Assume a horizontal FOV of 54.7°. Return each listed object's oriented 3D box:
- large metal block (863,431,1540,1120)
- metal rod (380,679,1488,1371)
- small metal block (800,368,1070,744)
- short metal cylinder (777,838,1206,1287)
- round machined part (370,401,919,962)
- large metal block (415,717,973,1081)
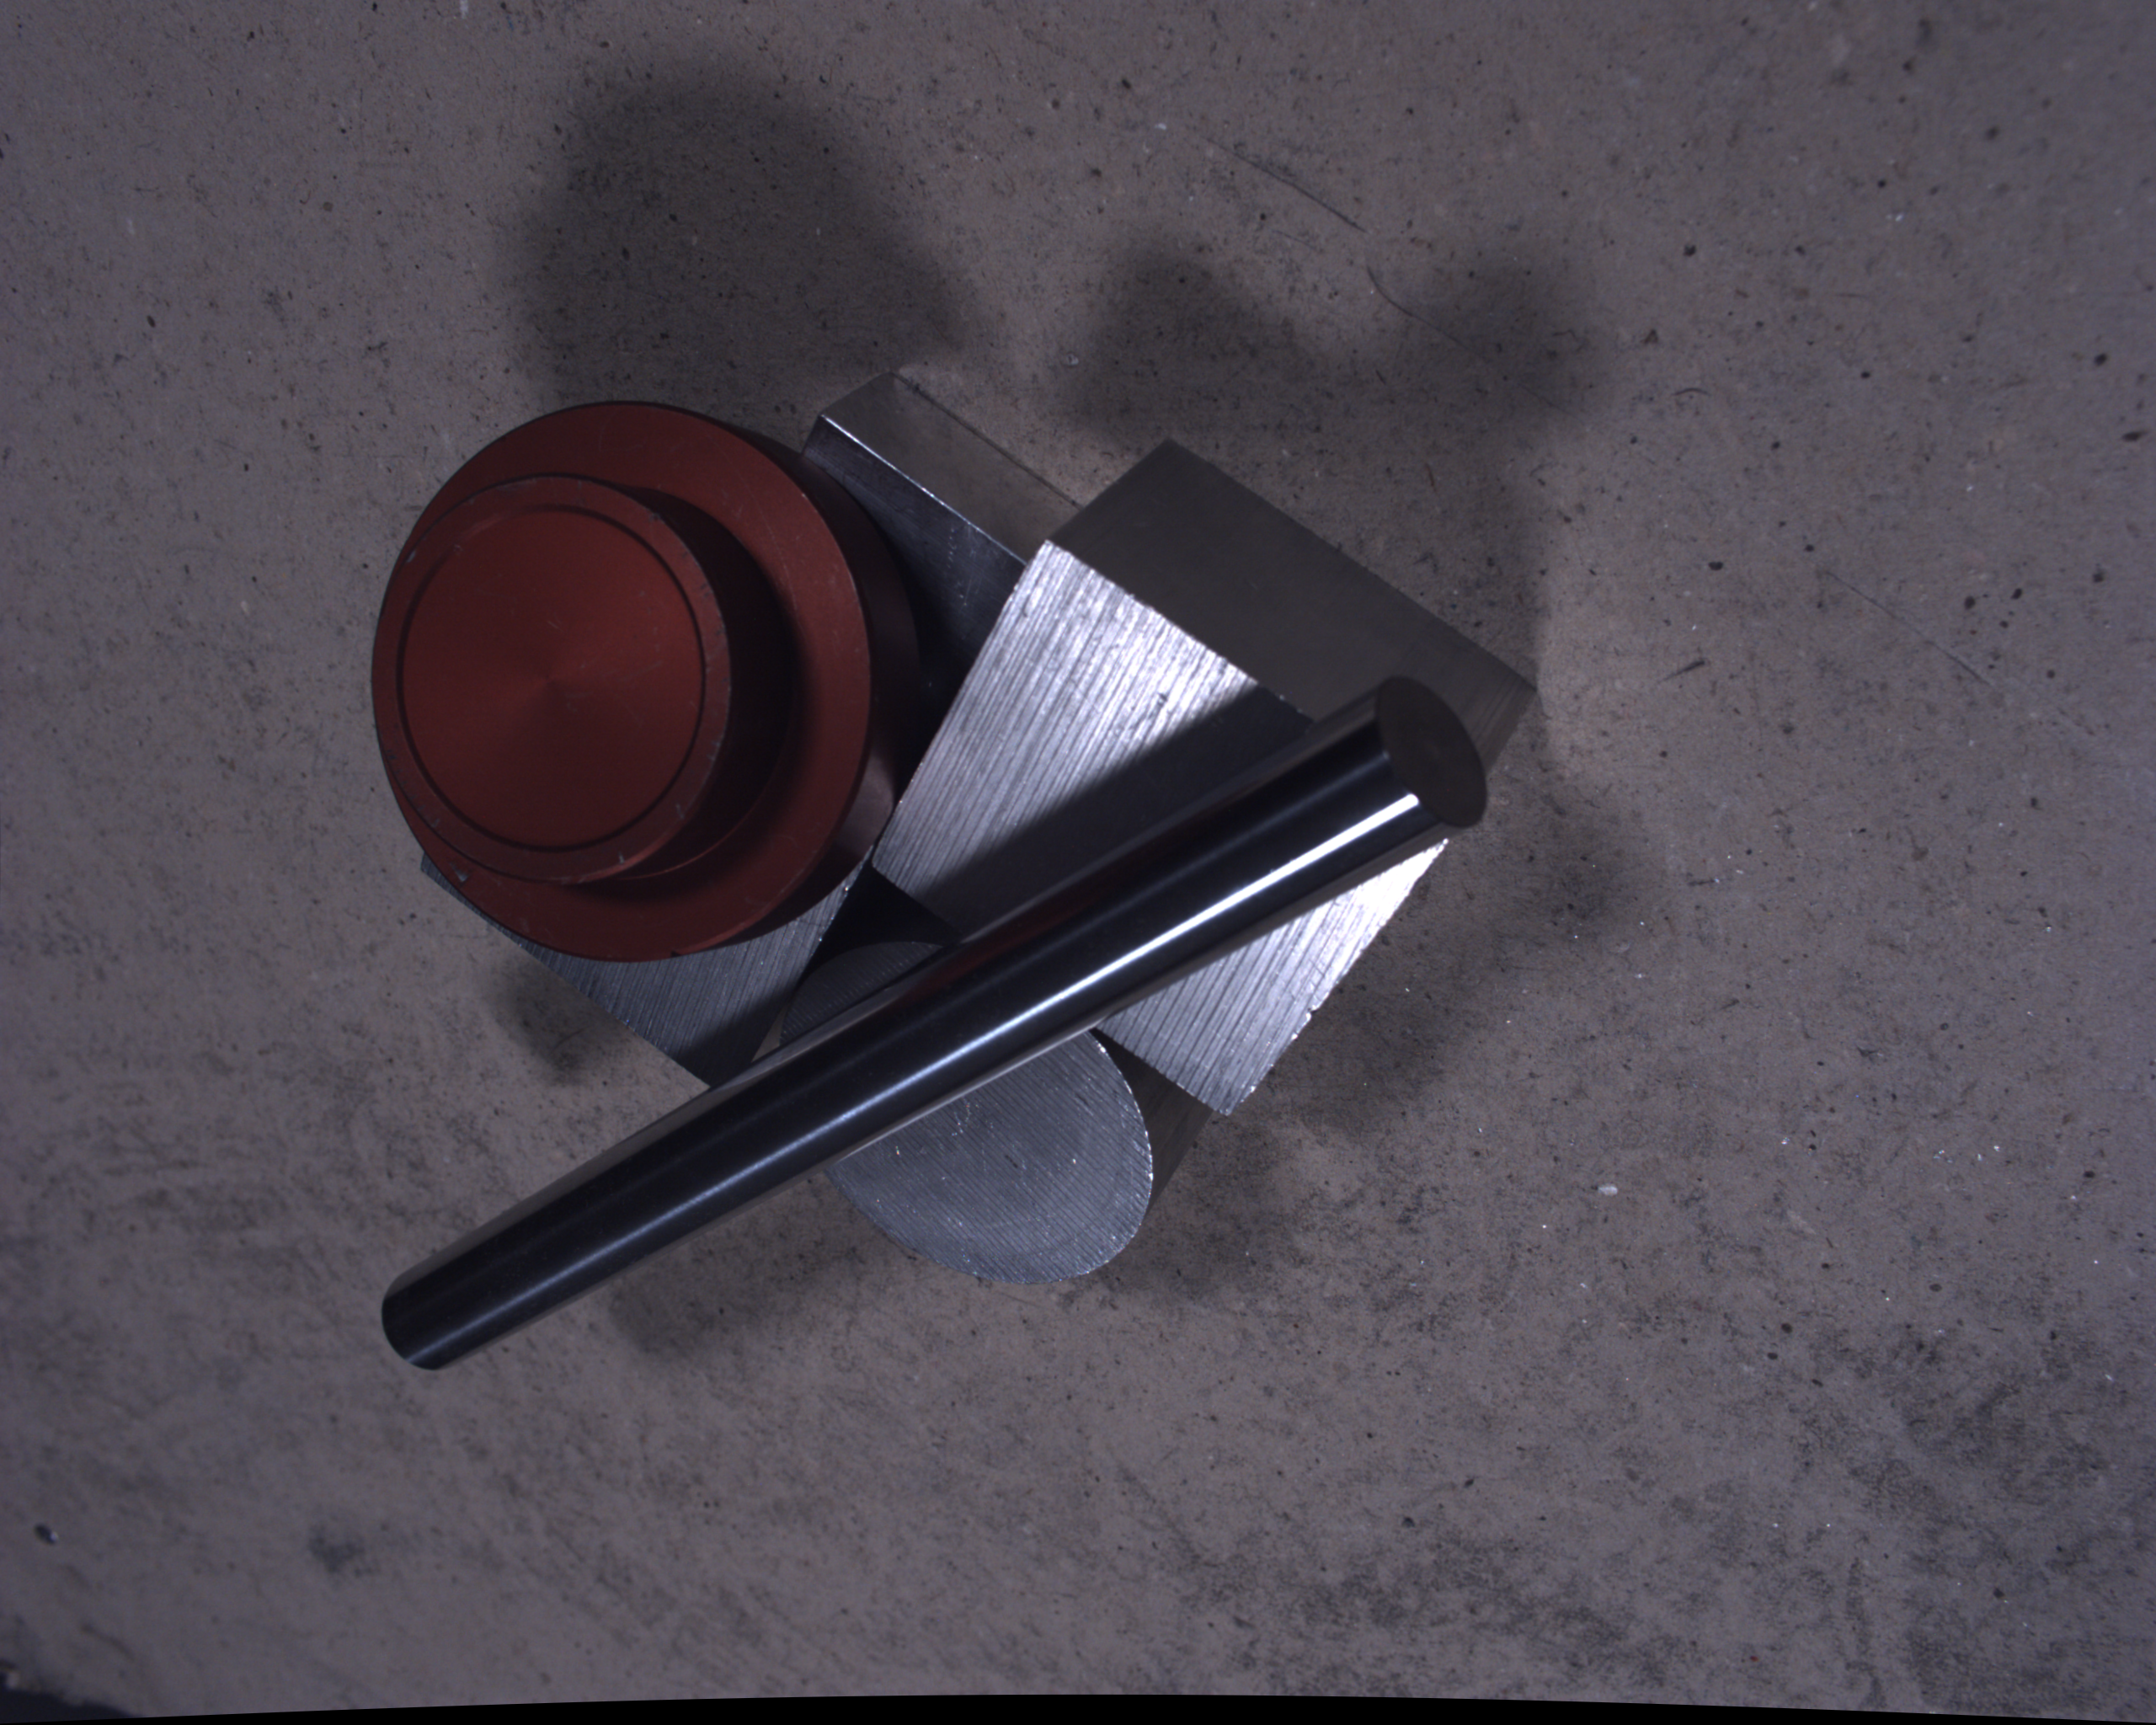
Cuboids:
[{"bbox_3d":[0.021,-0.015,0.371,0.080,0.050,0.079,36,129,4],"label":"large metal block"},{"bbox_3d":[-0.050,0.045,0.396,0.299,0.025,0.025,-31,101,38],"label":"metal rod"},{"bbox_3d":[-0.031,-0.054,0.389,0.050,0.025,0.050,37,129,3],"label":"small metal block"},{"bbox_3d":[-0.013,0.038,0.420,0.080,0.050,0.079,13,124,20],"label":"short metal cylinder"},{"bbox_3d":[-0.081,-0.031,0.362,0.098,0.042,0.097,1,93,17],"label":"round machined part"},{"bbox_3d":[-0.076,-0.014,0.421,0.080,0.050,0.079,36,129,3],"label":"large metal block"}]
